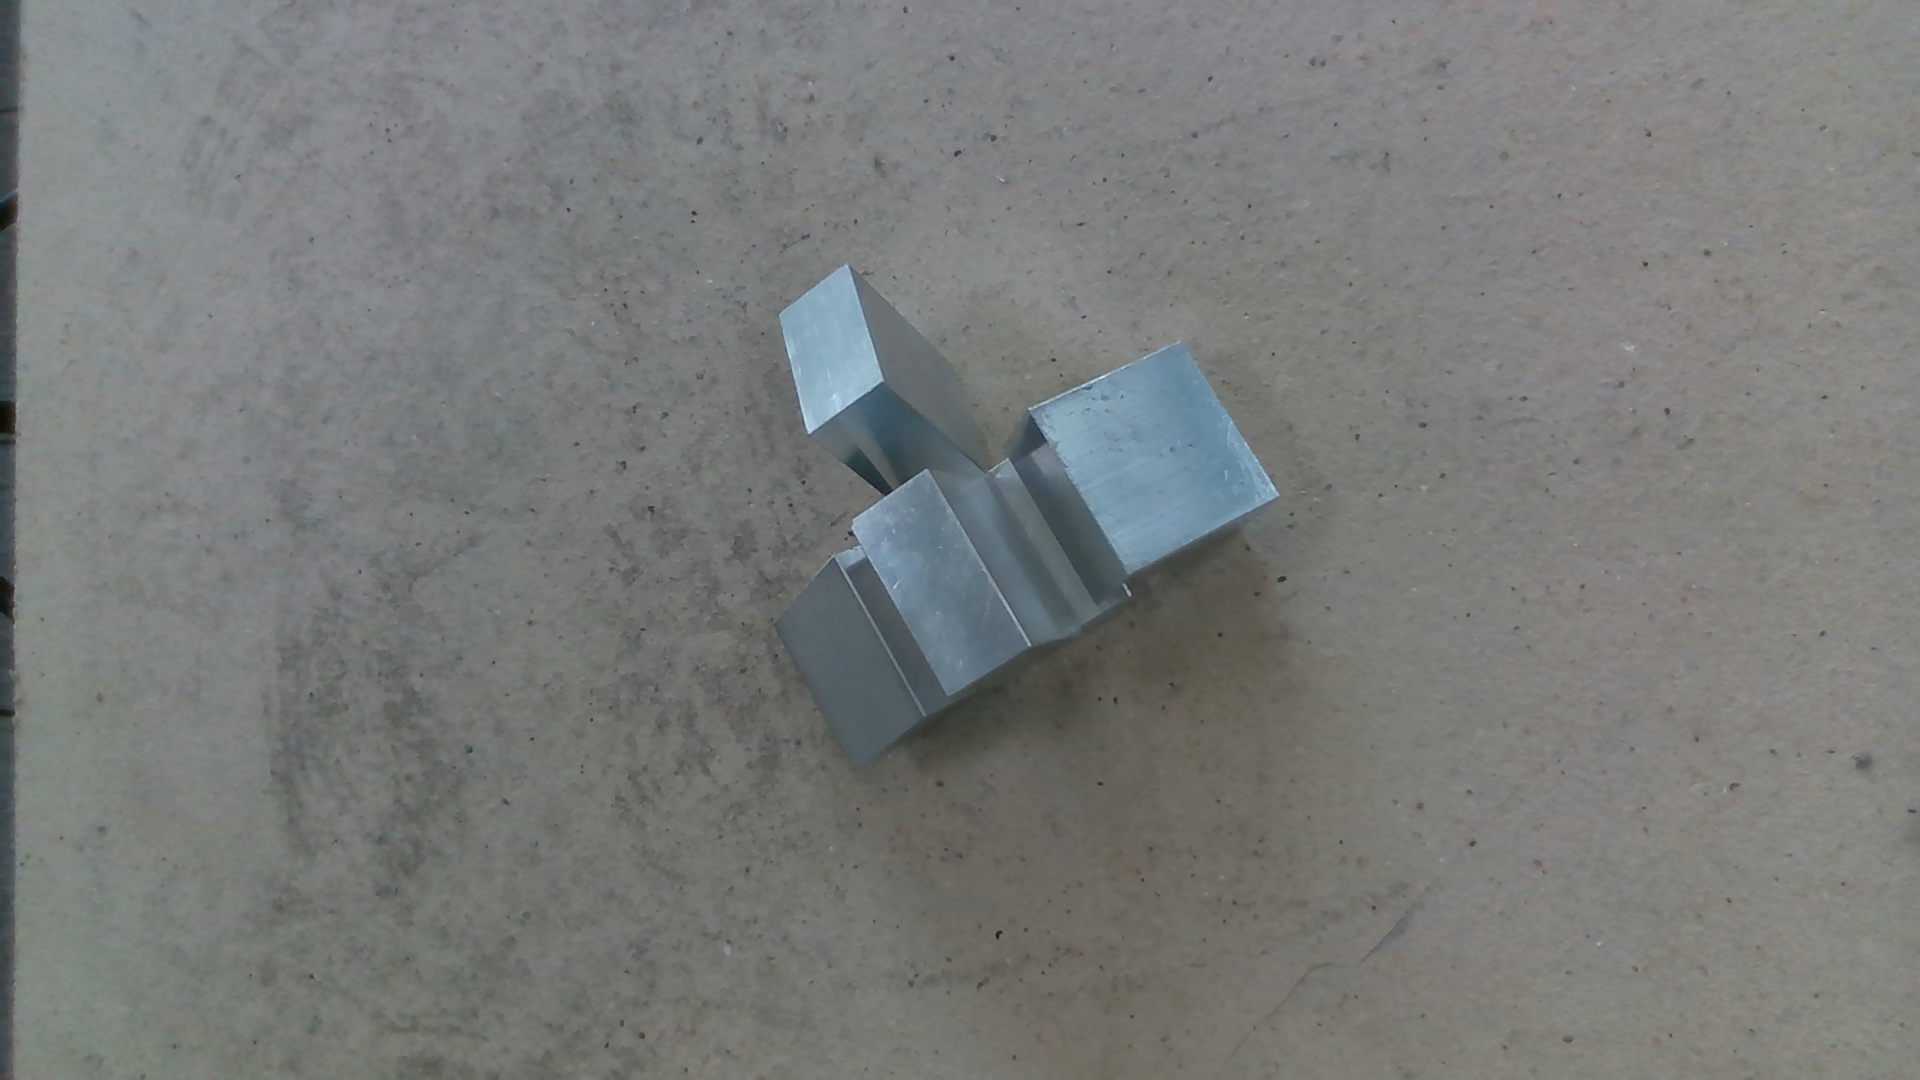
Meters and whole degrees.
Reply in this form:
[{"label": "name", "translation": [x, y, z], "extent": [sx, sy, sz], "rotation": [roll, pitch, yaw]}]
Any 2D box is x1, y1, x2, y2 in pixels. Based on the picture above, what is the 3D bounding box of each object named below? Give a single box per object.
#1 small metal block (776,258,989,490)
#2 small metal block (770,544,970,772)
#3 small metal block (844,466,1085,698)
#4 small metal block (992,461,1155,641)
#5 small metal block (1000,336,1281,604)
[{"label": "small metal block", "translation": [-0.021, -0.041, 0.378], "extent": [0.025, 0.050, 0.050], "rotation": [-33, 47, 18]}, {"label": "small metal block", "translation": [-0.023, 0.031, 0.389], "extent": [0.050, 0.025, 0.050], "rotation": [60, 144, 11]}, {"label": "small metal block", "translation": [0.003, 0.010, 0.353], "extent": [0.025, 0.050, 0.050], "rotation": [-34, 79, 18]}, {"label": "small metal block", "translation": [0.018, 0.006, 0.388], "extent": [0.050, 0.025, 0.050], "rotation": [-33, 77, 17]}, {"label": "small metal block", "translation": [0.047, -0.019, 0.363], "extent": [0.050, 0.025, 0.050], "rotation": [-26, 78, -22]}]
